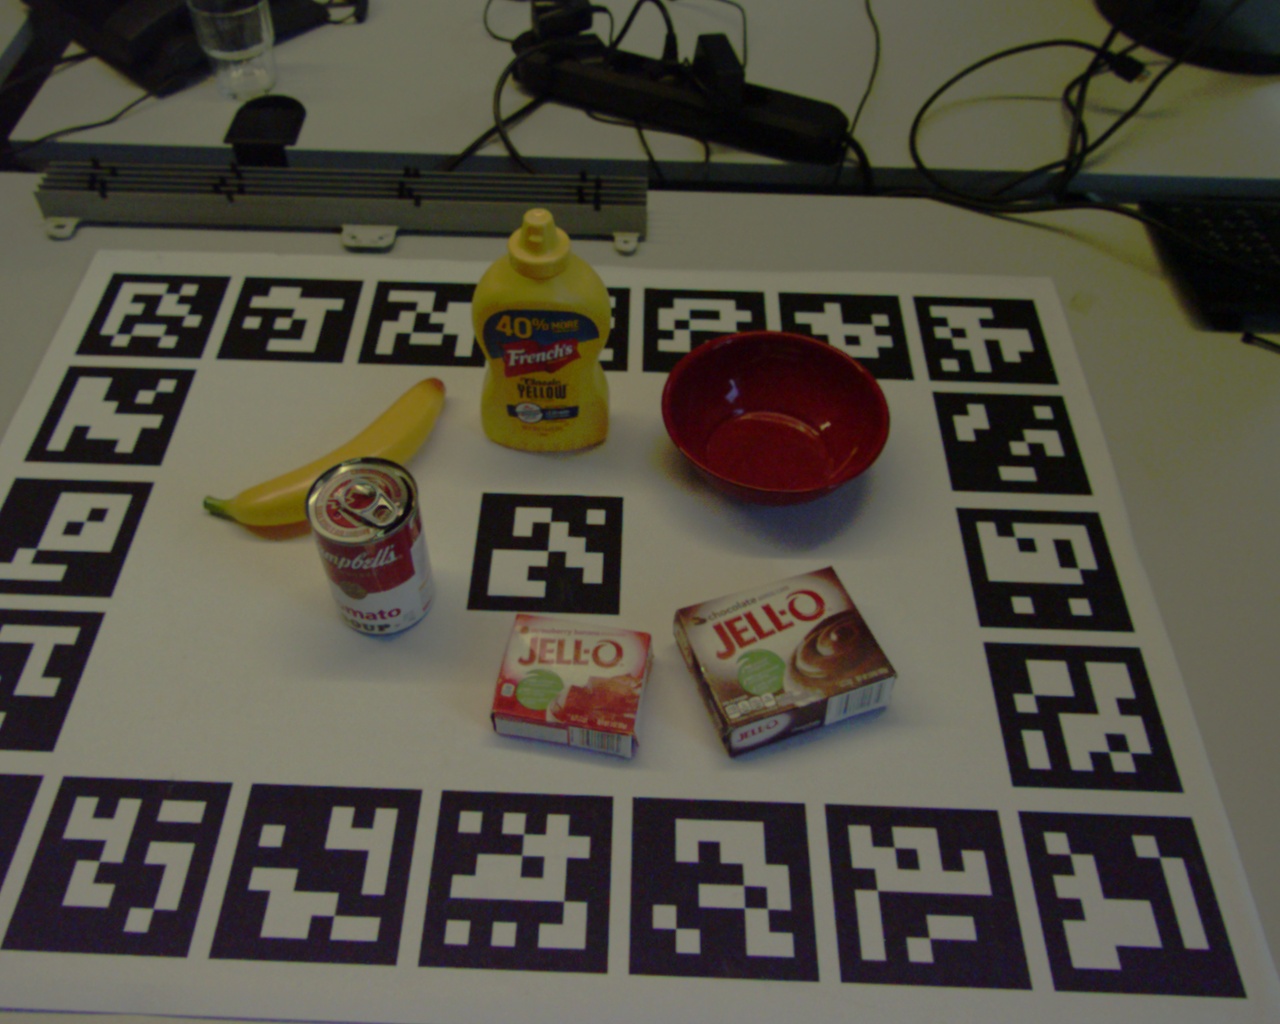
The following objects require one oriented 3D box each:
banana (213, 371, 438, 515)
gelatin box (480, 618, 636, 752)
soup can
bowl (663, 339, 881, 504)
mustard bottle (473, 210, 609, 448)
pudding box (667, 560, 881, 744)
[{"bbox_3d":[-0.221,-0.049,0.860,0.075,0.038,0.196,31,56,34],"label":"banana"},{"bbox_3d":[-0.052,0.110,0.738,0.089,0.030,0.073,7,54,6],"label":"gelatin box"},{"bbox_3d":[-0.181,0.014,0.757,0.068,0.102,0.068,2,49,-3],"label":"soup can"},{"bbox_3d":[0.097,-0.059,0.865,0.162,0.055,0.162,-1,50,0],"label":"bowl"},{"bbox_3d":[-0.070,-0.130,0.816,0.096,0.191,0.058,3,48,0],"label":"mustard bottle"},{"bbox_3d":[0.085,0.091,0.749,0.113,0.038,0.091,-17,59,-14],"label":"pudding box"}]
